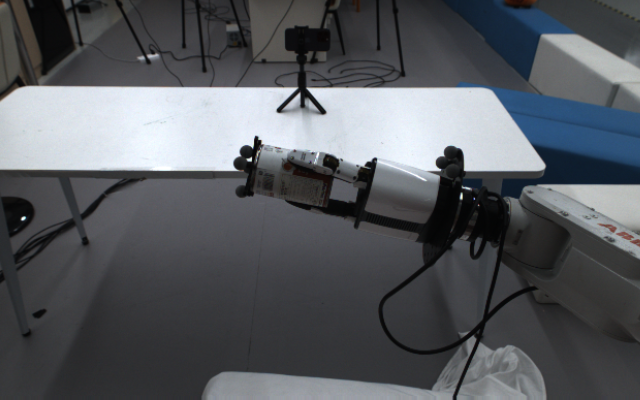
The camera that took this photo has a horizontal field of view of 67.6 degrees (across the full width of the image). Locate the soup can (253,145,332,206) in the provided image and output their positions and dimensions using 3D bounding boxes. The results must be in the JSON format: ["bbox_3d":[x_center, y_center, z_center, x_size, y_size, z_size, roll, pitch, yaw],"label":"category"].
[{"bbox_3d":[-0.032,-0.031,0.638,0.101,0.067,0.067,12,35,-1],"label":"soup can"}]
